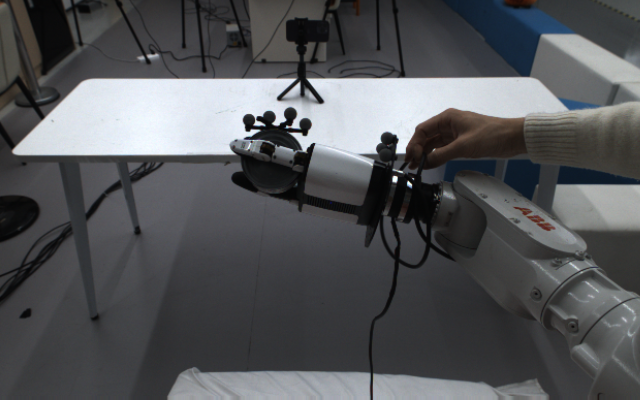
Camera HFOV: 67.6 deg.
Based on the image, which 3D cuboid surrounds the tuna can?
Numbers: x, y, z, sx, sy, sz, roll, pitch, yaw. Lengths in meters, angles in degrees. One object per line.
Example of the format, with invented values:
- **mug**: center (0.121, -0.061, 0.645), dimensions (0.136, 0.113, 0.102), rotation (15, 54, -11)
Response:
- **tuna can**: center (-0.064, -0.053, 0.668), dimensions (0.085, 0.034, 0.085), rotation (0, 75, 0)
